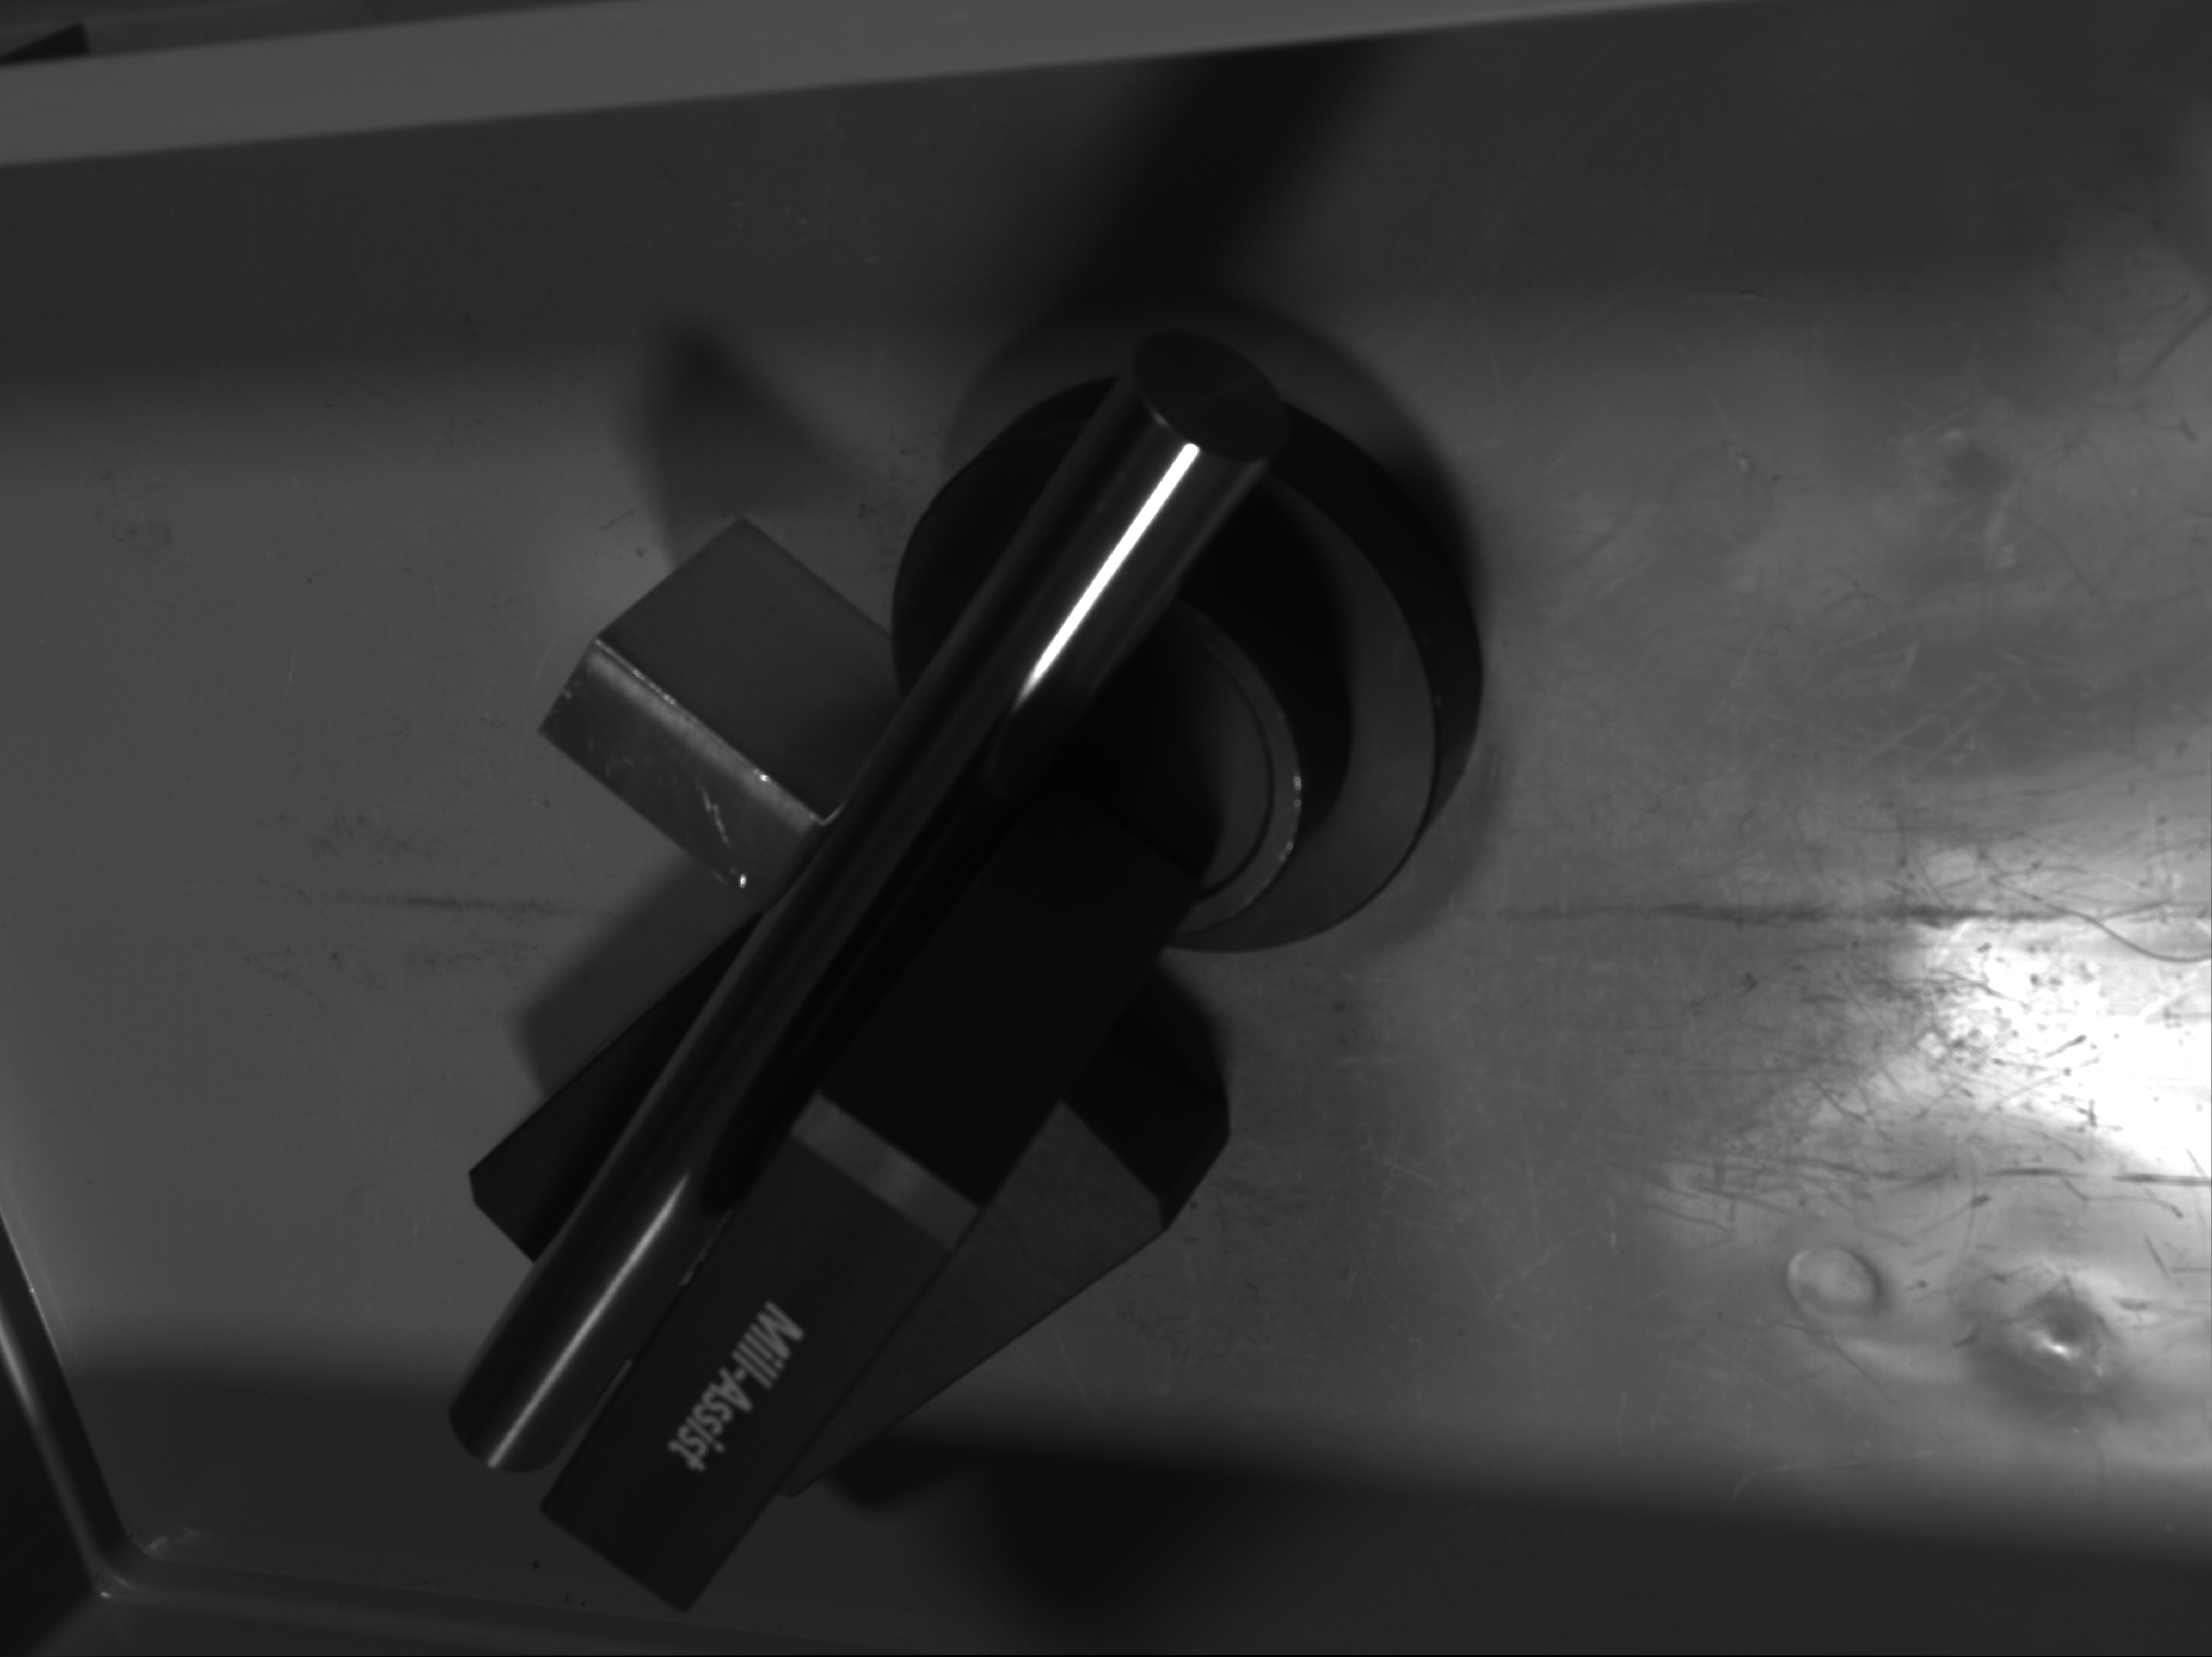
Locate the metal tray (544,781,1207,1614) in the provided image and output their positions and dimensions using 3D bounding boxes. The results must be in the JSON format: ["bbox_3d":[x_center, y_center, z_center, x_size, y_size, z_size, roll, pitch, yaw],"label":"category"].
[{"bbox_3d":[-0.039,0.061,0.596,0.030,0.090,0.130,35,134,0],"label":"metal tray"}]

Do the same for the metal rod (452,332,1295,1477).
[{"bbox_3d":[-0.051,0.028,0.622,0.025,0.025,0.300,38,132,1],"label":"metal rod"}]

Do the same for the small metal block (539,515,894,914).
[{"bbox_3d":[-0.061,-0.020,0.632,0.050,0.050,0.025,39,128,1],"label":"small metal block"}]

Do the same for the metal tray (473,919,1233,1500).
[{"bbox_3d":[-0.050,0.062,0.689,0.090,0.030,0.130,46,128,-5],"label":"metal tray"}]

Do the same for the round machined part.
[{"bbox_3d":[0.009,-0.021,0.601,0.098,0.042,0.098,12,123,20],"label":"round machined part"}]
